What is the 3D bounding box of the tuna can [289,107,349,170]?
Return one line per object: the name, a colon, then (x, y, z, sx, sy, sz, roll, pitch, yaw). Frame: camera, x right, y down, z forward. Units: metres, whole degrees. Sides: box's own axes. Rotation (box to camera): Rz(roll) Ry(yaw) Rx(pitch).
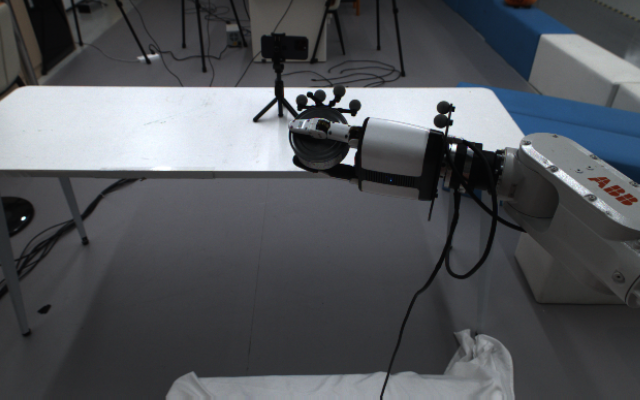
tuna can: (0.000, -0.089, 0.688, 0.085, 0.034, 0.085, -3, 69, 7)
